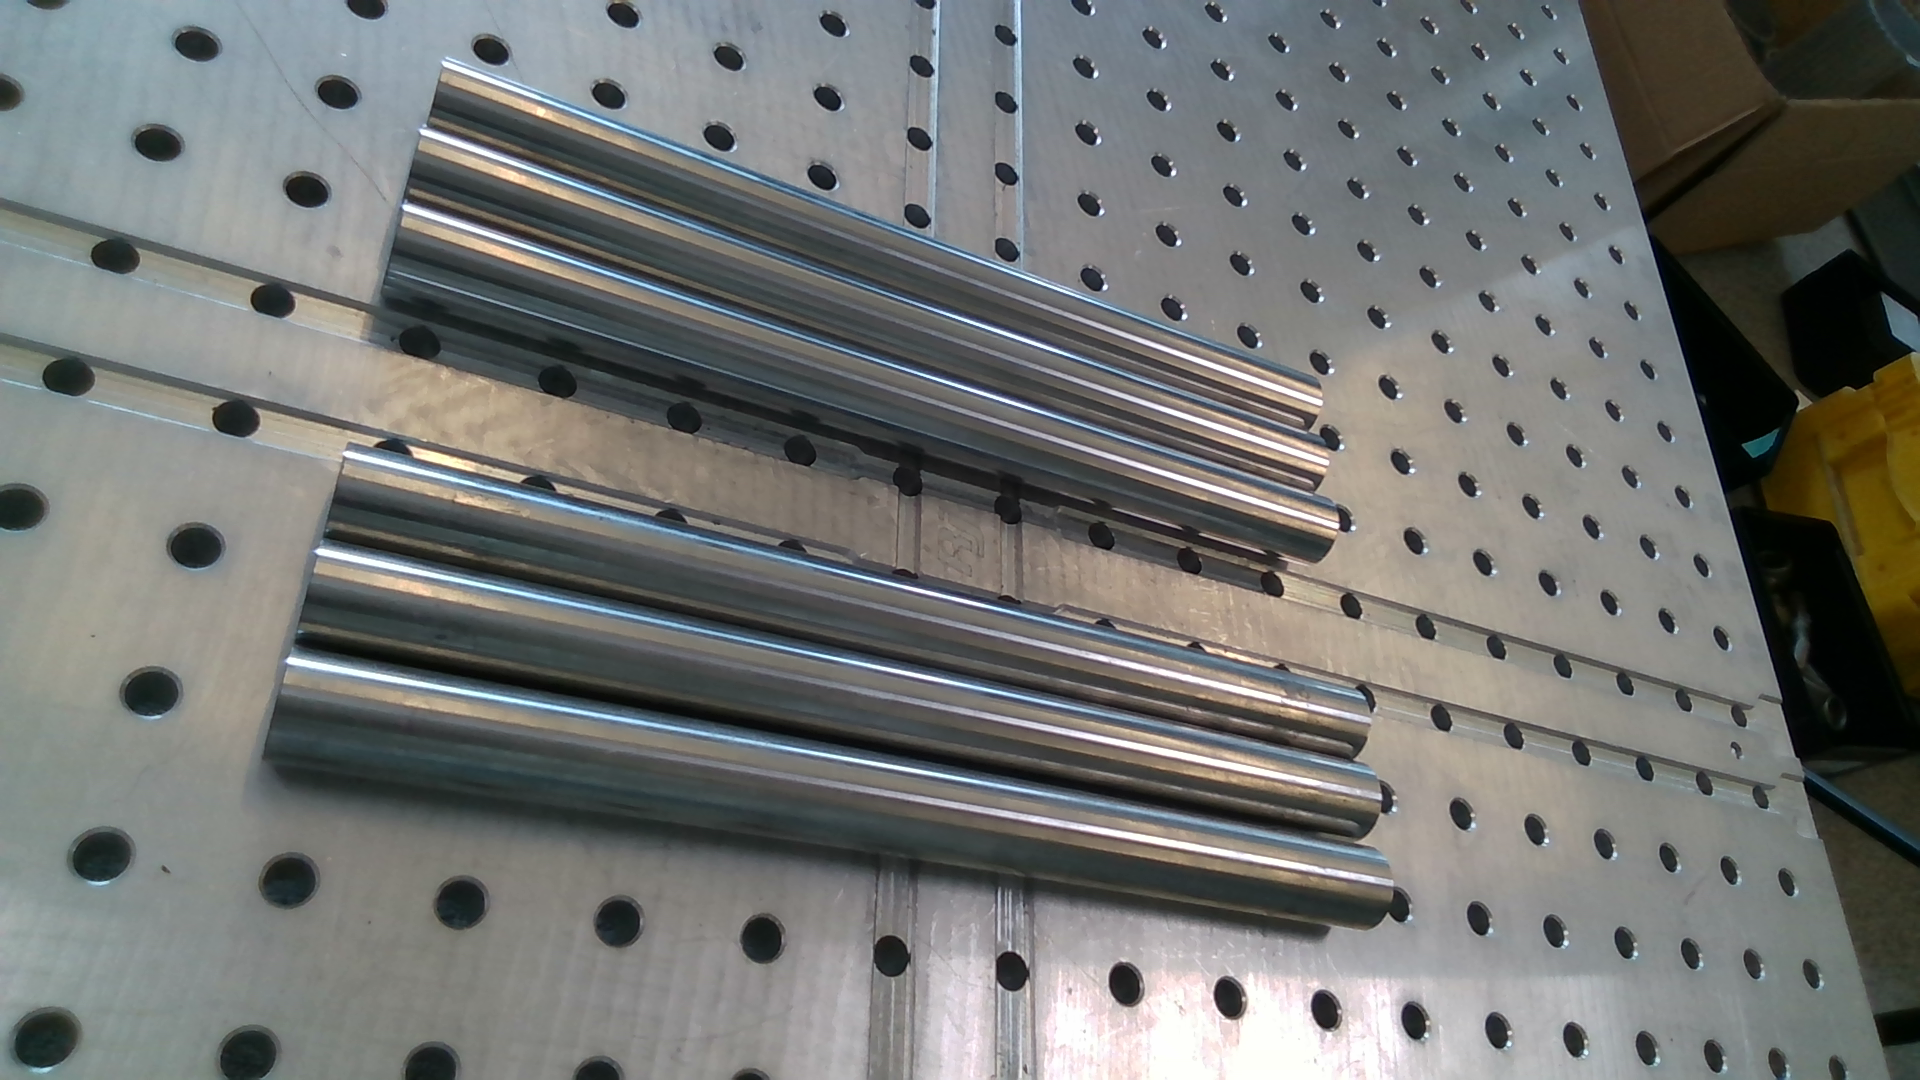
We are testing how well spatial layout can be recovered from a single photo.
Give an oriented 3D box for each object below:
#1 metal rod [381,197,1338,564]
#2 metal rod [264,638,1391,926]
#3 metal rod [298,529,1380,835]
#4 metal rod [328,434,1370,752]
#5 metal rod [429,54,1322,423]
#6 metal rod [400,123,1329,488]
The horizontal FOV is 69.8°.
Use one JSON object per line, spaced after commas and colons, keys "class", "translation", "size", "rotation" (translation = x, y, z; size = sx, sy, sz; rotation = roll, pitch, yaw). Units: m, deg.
{"class": "metal rod", "translation": [-0.011, -0.039, 0.410], "size": [0.300, 0.025, 0.025], "rotation": [15, 58, -25]}
{"class": "metal rod", "translation": [-0.011, 0.068, 0.352], "size": [0.300, 0.025, 0.025], "rotation": [15, 58, -25]}
{"class": "metal rod", "translation": [-0.011, 0.045, 0.365], "size": [0.300, 0.025, 0.025], "rotation": [15, 58, -25]}
{"class": "metal rod", "translation": [-0.010, 0.023, 0.377], "size": [0.300, 0.025, 0.025], "rotation": [15, 58, -25]}
{"class": "metal rod", "translation": [-0.010, -0.083, 0.434], "size": [0.300, 0.025, 0.025], "rotation": [15, 58, -25]}
{"class": "metal rod", "translation": [-0.011, -0.061, 0.421], "size": [0.300, 0.025, 0.025], "rotation": [15, 58, -25]}
